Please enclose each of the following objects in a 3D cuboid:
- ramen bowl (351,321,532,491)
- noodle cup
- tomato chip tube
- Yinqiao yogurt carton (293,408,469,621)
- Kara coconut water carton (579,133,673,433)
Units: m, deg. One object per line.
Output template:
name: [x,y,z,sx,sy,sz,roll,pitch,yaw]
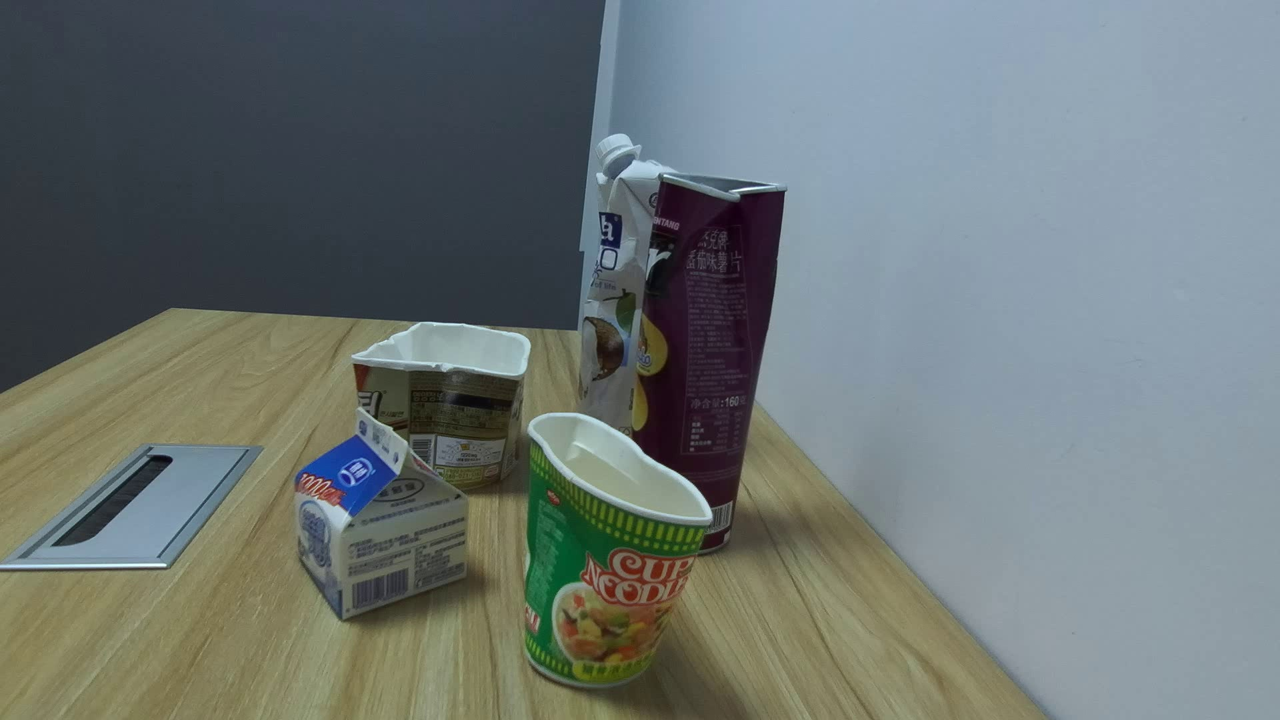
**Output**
ramen bowl: [-0.147,0.029,0.545,0.114,0.097,0.133,2,18,-9]
noodle cup: [-0.021,0.095,0.352,0.070,0.111,0.114,1,18,-16]
tomato chip tube: [0.040,0.004,0.452,0.077,0.235,0.076,10,17,10]
Yinqiao yogurt carton: [-0.145,0.077,0.396,0.074,0.092,0.075,-9,21,-41]
Kara coconut water carton: [-0.005,-0.050,0.589,0.078,0.255,0.083,4,15,-6]
